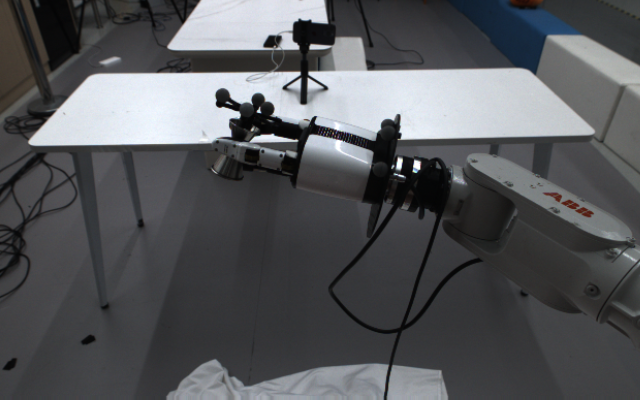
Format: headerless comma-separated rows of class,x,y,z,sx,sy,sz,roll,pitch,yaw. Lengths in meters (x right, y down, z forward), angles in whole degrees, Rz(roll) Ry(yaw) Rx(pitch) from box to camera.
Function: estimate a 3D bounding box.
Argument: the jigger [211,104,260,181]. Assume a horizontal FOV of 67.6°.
jigger,-0.107,-0.064,0.610,0.043,0.071,0.043,23,19,-8
